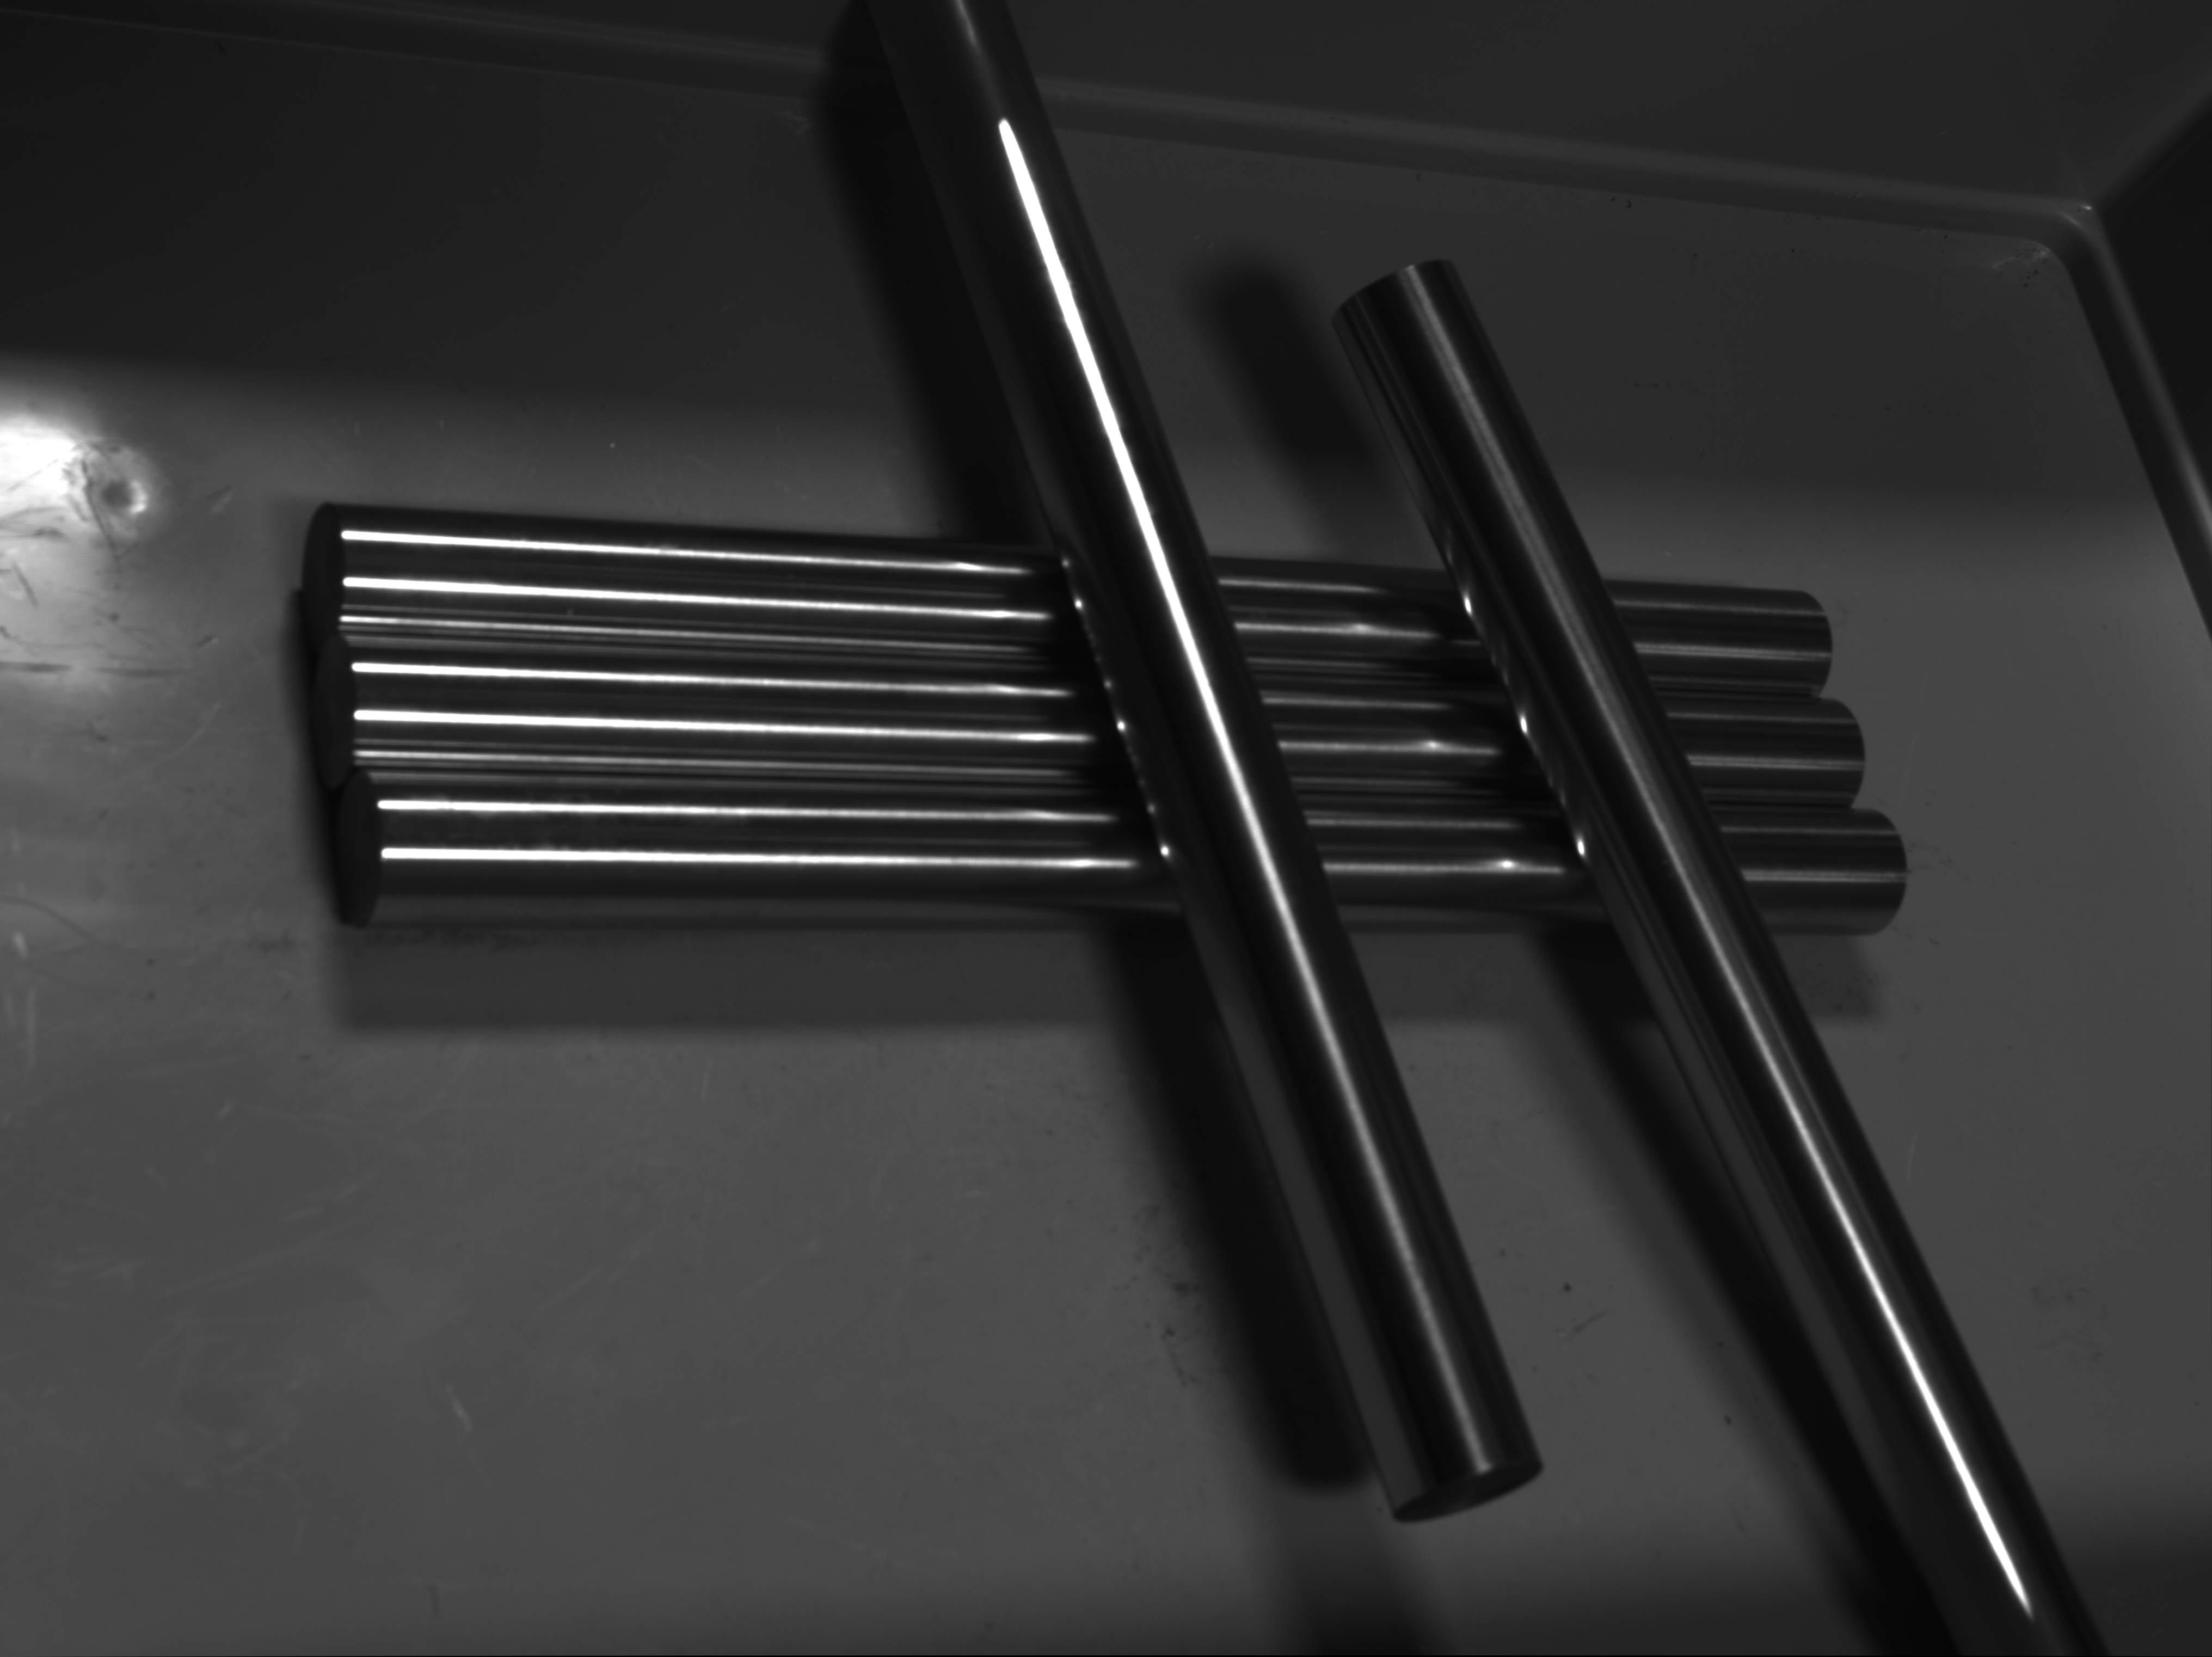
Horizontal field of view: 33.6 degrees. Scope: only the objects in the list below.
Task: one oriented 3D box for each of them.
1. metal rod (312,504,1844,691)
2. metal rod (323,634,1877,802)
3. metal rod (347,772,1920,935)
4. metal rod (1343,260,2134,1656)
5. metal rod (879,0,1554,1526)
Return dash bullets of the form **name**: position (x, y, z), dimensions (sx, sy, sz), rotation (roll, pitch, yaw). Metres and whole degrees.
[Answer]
- **metal rod**: position (0.007, -0.038, 0.666), dimensions (0.301, 0.025, 0.025), rotation (1, 61, -28)
- **metal rod**: position (0.011, -0.016, 0.655), dimensions (0.301, 0.025, 0.025), rotation (1, 61, -28)
- **metal rod**: position (0.017, 0.006, 0.644), dimensions (0.301, 0.025, 0.025), rotation (1, 61, -28)
- **metal rod**: position (0.115, 0.035, 0.653), dimensions (0.025, 0.025, 0.300), rotation (-17, 77, -35)
- **metal rod**: position (0.014, -0.027, 0.630), dimensions (0.025, 0.025, 0.300), rotation (-5, 64, -30)
